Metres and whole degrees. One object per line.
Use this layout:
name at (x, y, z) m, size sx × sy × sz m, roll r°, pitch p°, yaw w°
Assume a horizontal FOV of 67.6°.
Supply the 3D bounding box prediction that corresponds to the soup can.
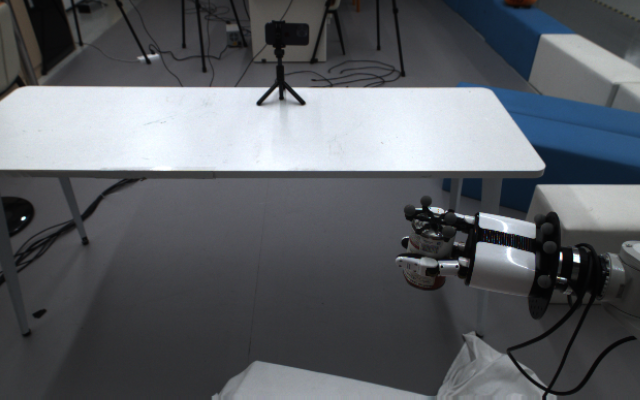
soup can at (0.168, 0.079, 0.743) m, size 0.067 × 0.101 × 0.067 m, roll 2°, pitch 32°, yaw -1°
